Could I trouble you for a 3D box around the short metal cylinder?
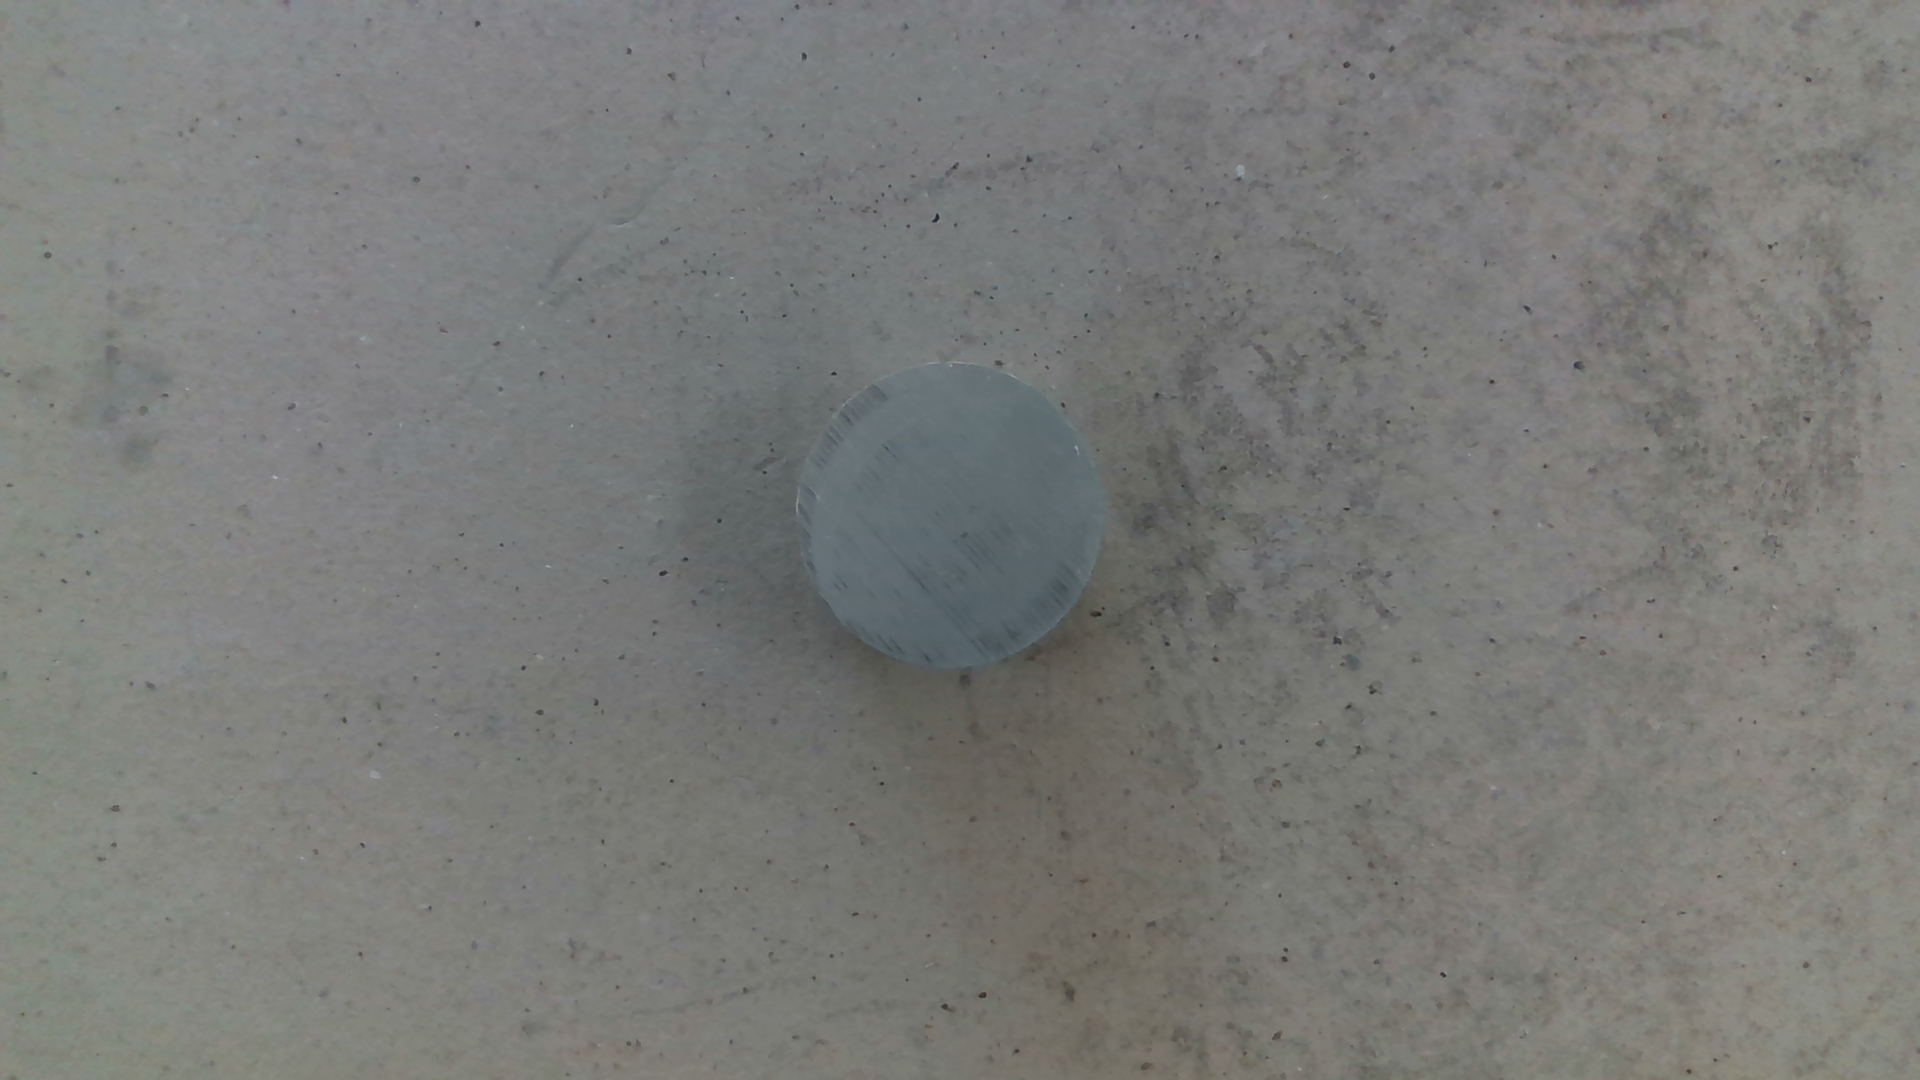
[{"bbox_3d":[-0.003,-0.007,0.383,0.080,0.050,0.080,0,91,0],"label":"short metal cylinder"}]
